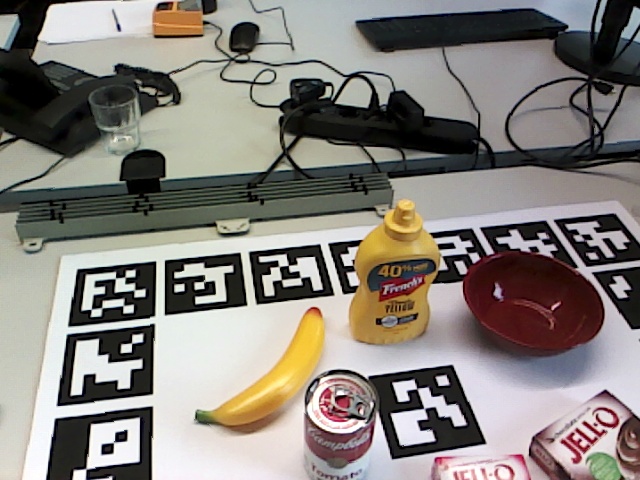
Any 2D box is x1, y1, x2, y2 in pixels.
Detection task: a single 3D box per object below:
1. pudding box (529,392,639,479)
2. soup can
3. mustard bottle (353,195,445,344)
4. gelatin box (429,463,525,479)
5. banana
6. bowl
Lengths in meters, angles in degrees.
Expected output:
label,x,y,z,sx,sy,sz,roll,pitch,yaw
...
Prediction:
label,x,y,z,sx,sy,sz,roll,pitch,yaw
pudding box,0.282,0.217,0.617,0.113,0.038,0.090,-23,52,-25
soup can,0.010,0.177,0.596,0.068,0.102,0.068,2,39,-2
mustard bottle,0.090,0.032,0.694,0.096,0.191,0.059,-5,39,-8
gelatin box,0.152,0.251,0.581,0.089,0.030,0.073,-1,44,-2
banana,-0.050,0.138,0.702,0.075,0.039,0.197,16,42,31
bowl,0.259,0.090,0.756,0.161,0.055,0.162,-1,40,0
